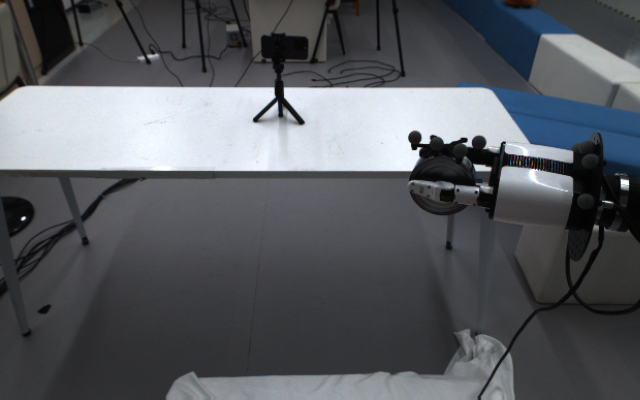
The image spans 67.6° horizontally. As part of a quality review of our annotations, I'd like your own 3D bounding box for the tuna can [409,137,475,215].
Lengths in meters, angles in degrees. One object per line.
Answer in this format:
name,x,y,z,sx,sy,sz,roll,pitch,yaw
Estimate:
tuna can,0.165,-0.028,0.646,0.085,0.085,0.034,13,30,15
